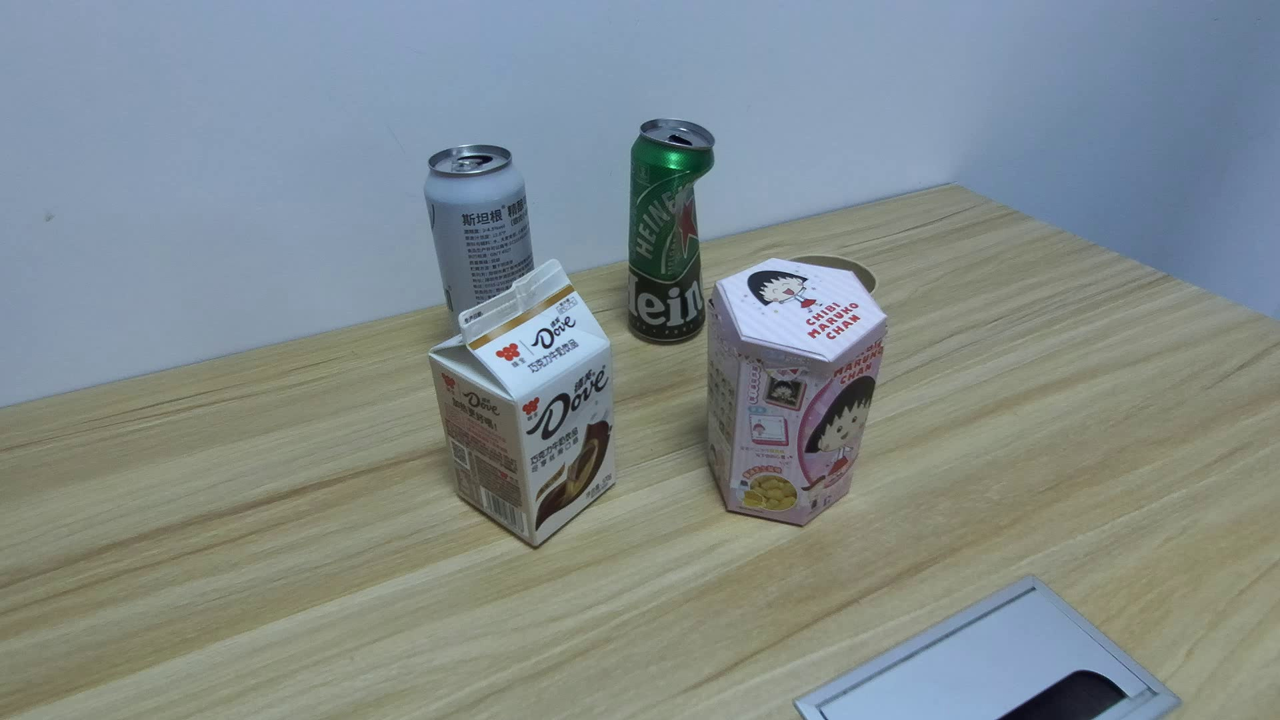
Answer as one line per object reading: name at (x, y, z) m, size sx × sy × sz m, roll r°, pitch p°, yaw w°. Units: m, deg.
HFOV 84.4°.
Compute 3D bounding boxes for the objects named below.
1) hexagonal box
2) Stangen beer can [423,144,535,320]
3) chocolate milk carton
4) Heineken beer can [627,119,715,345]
hexagonal box at (0.086, 0.020, 0.414) m, size 0.092 × 0.135 × 0.084 m, roll -25°, pitch 42°, yaw -31°
Stangen beer can at (-0.108, -0.063, 0.508) m, size 0.067 × 0.171 × 0.067 m, roll -2°, pitch 34°, yaw 1°
chocolate milk carton at (-0.065, 0.020, 0.408) m, size 0.073 × 0.148 × 0.075 m, roll 24°, pitch 41°, yaw 33°
Heineken beer can at (0.025, -0.096, 0.554) m, size 0.068 × 0.168 × 0.069 m, roll -15°, pitch 40°, yaw -23°
